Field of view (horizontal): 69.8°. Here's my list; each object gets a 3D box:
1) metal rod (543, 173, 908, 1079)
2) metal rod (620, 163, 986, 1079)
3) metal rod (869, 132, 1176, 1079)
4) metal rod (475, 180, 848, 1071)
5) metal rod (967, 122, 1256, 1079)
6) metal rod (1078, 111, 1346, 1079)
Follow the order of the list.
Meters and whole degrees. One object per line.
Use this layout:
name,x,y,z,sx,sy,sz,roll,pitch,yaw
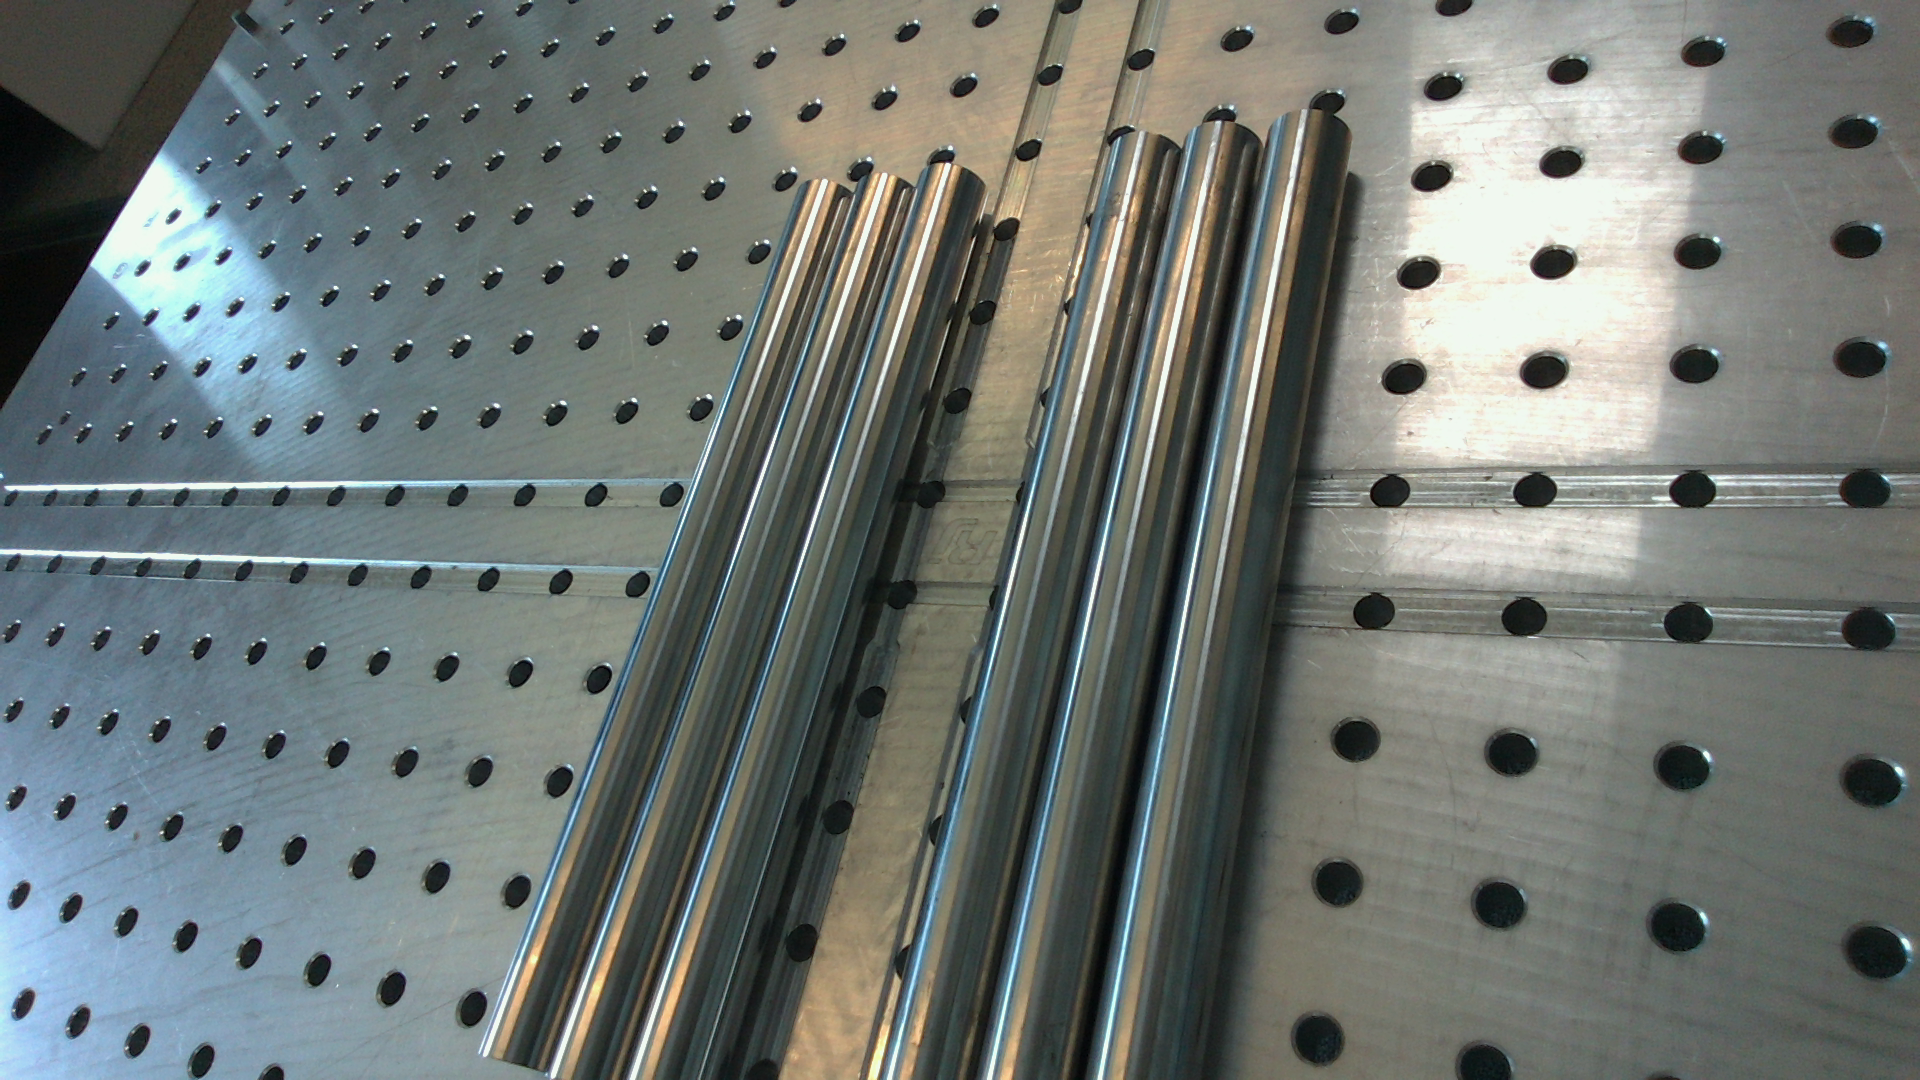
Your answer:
metal rod,-0.061,0.011,0.422,0.025,0.025,0.300,1,62,29
metal rod,-0.039,0.011,0.410,0.025,0.025,0.300,1,62,29
metal rod,0.023,0.010,0.377,0.025,0.025,0.300,1,62,29
metal rod,-0.083,0.010,0.435,0.025,0.025,0.300,1,62,29
metal rod,0.045,0.011,0.365,0.025,0.025,0.300,1,62,29
metal rod,0.068,0.012,0.352,0.025,0.025,0.300,1,62,29
